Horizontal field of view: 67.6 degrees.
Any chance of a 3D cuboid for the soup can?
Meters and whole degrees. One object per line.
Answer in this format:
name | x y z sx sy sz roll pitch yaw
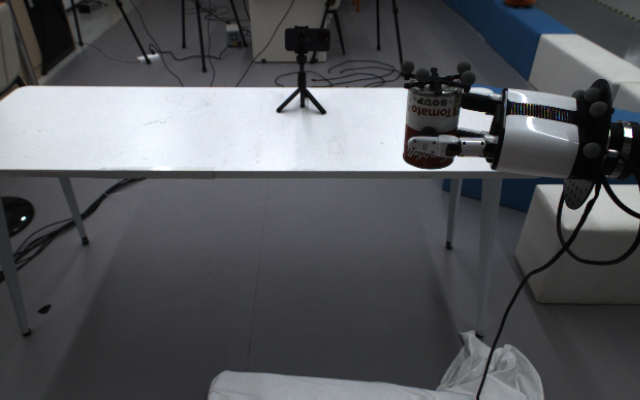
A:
soup can | 0.145 -0.102 0.627 0.067 0.101 0.067 -2 34 1
